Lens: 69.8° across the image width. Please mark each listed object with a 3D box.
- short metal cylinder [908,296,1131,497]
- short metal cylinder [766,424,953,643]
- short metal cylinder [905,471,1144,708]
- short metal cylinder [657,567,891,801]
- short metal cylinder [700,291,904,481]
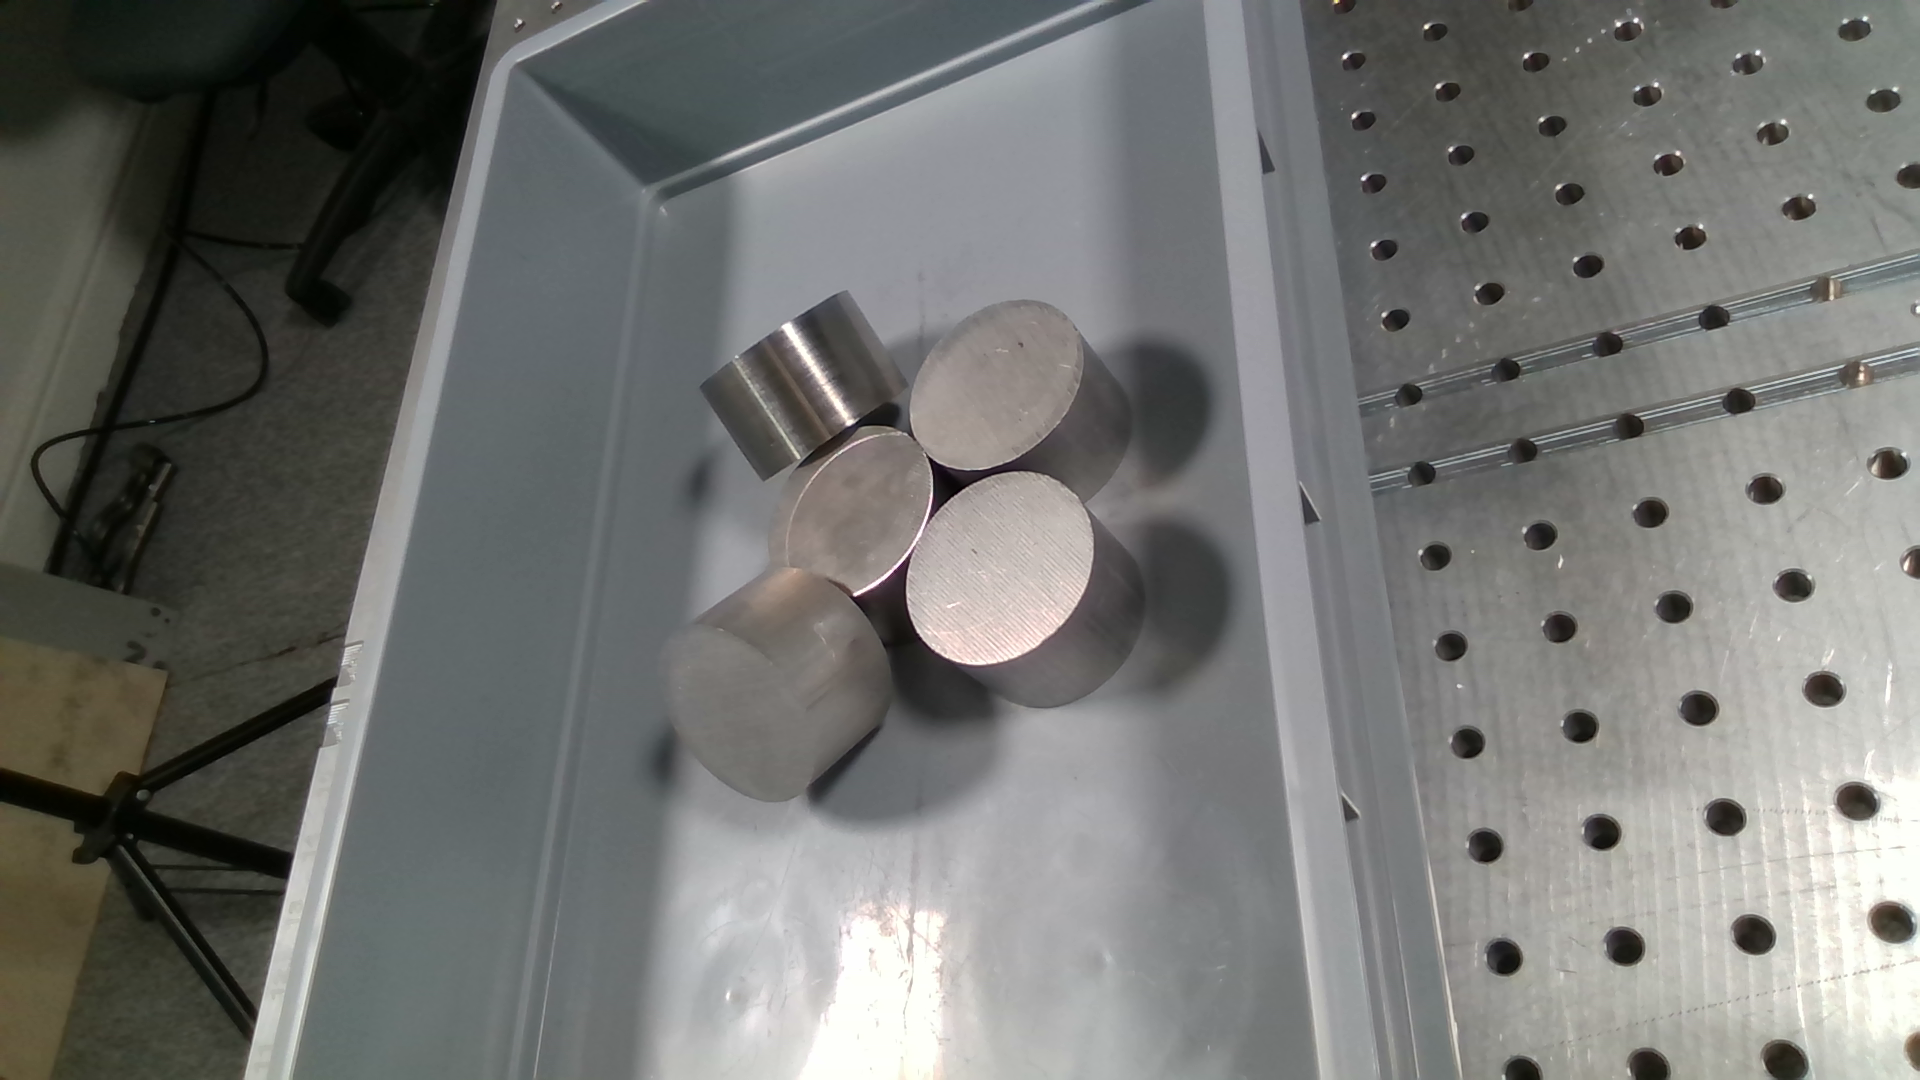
[{"bbox_3d":[0.025,-0.055,0.580,0.080,0.050,0.080,-14,59,25],"label":"short metal cylinder"},{"bbox_3d":[-0.035,-0.002,0.589,0.080,0.050,0.080,-14,59,25],"label":"short metal cylinder"},{"bbox_3d":[0.026,0.020,0.542,0.080,0.050,0.080,-14,59,25],"label":"short metal cylinder"},{"bbox_3d":[-0.075,0.058,0.556,0.080,0.080,0.050,7,30,34],"label":"short metal cylinder"},{"bbox_3d":[-0.070,-0.070,0.621,0.080,0.080,0.050,-32,97,14],"label":"short metal cylinder"}]
